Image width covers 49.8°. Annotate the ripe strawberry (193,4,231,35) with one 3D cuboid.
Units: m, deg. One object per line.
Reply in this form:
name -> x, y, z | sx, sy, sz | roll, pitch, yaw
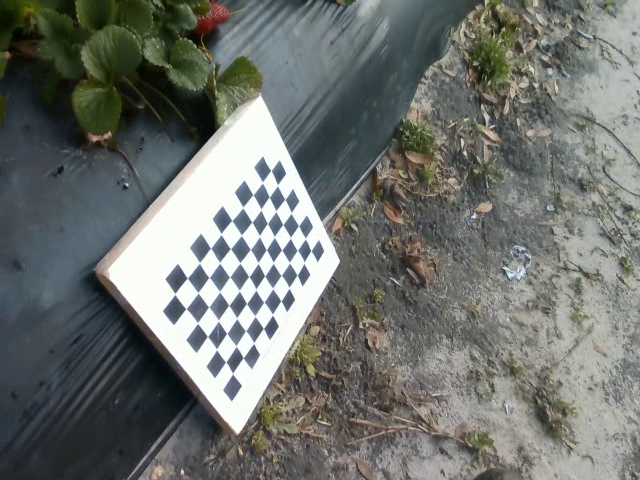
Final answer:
ripe strawberry -> -0.118, -0.253, 0.757 | 0.043, 0.051, 0.064 | 1, 11, 34
